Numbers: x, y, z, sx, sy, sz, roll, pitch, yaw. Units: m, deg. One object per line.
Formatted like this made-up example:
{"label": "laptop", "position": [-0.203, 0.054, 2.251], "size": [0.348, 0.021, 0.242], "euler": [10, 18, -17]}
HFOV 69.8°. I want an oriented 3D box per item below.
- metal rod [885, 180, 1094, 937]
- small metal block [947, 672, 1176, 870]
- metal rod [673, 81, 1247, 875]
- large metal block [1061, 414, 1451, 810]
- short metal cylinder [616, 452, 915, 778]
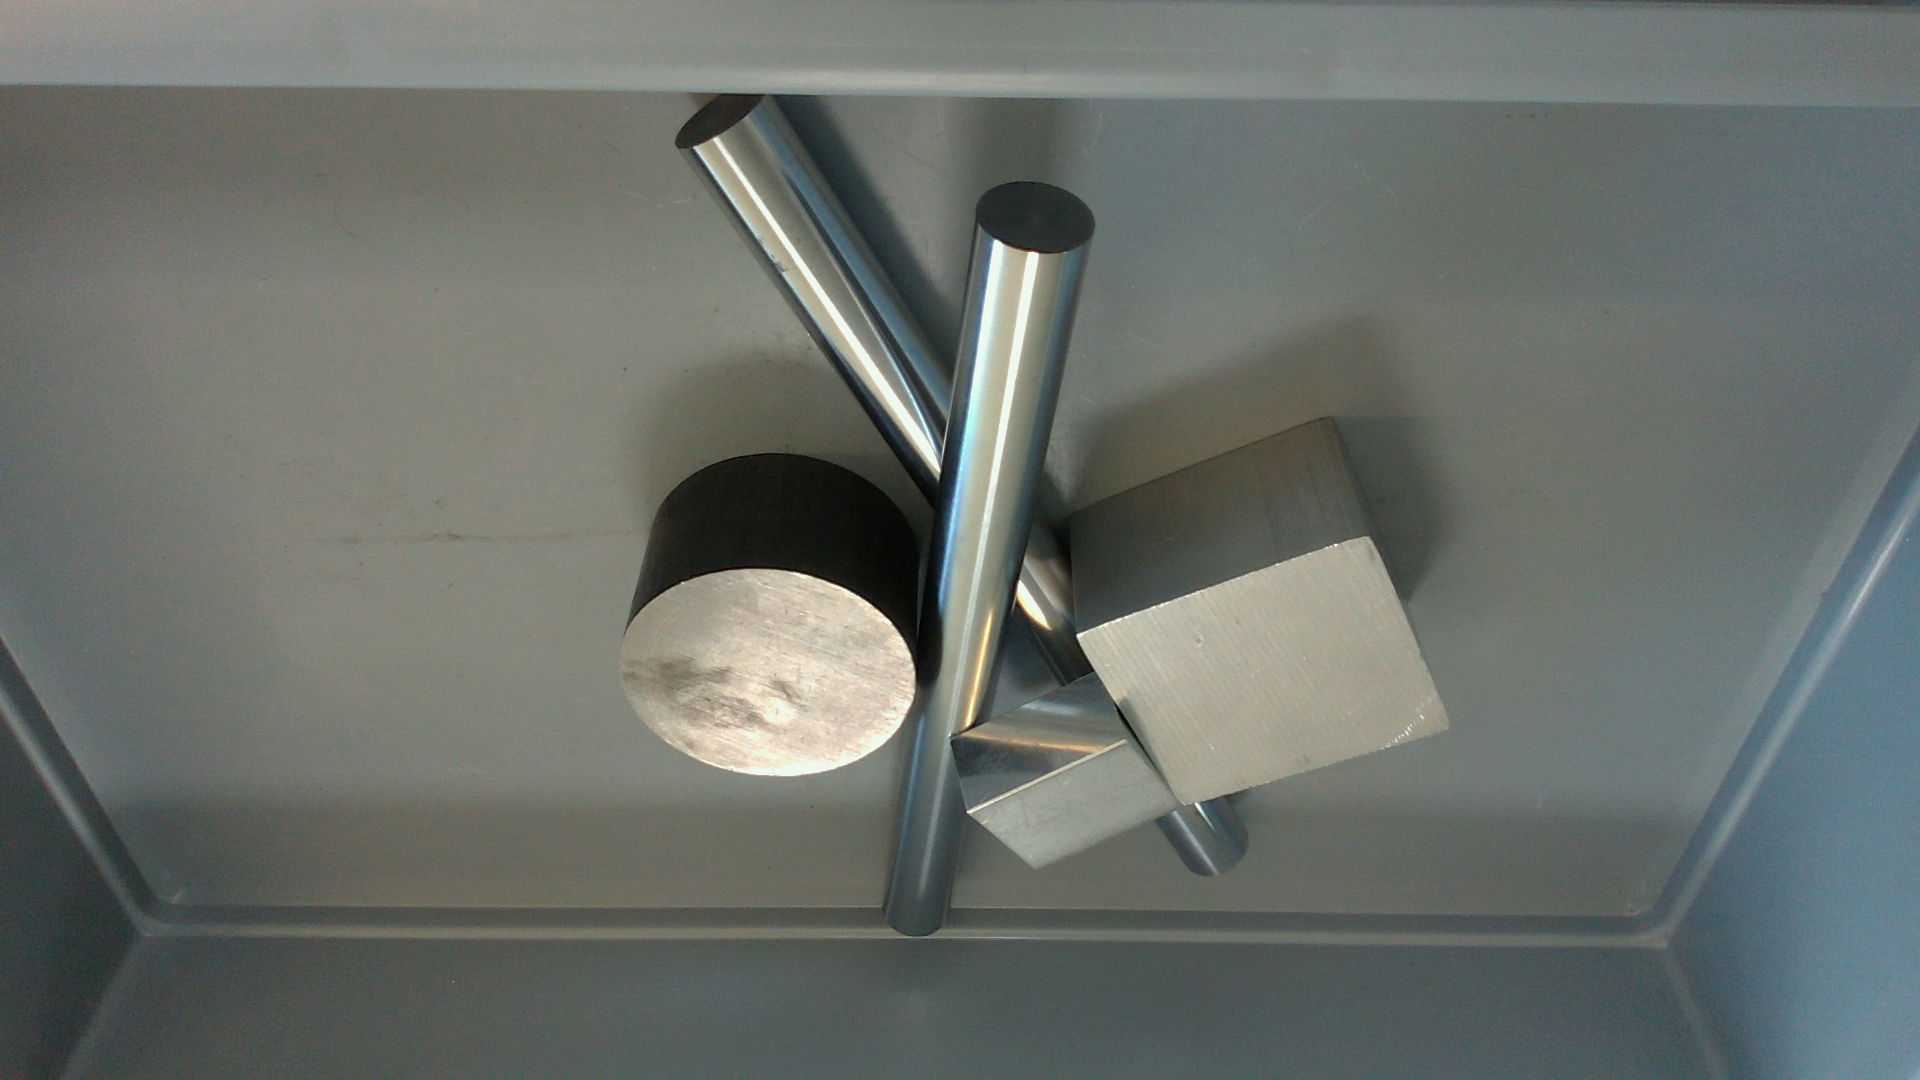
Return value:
{"label": "metal rod", "position": [0.000, 0.033, 0.391], "size": [0.025, 0.025, 0.300], "euler": [5, 138, -4]}
{"label": "small metal block", "position": [0.032, 0.069, 0.406], "size": [0.050, 0.025, 0.050], "euler": [-27, 140, 11]}
{"label": "metal rod", "position": [0.017, 0.005, 0.393], "size": [0.025, 0.025, 0.301], "euler": [-22, 127, 18]}
{"label": "large metal block", "position": [0.083, 0.023, 0.392], "size": [0.080, 0.050, 0.080], "euler": [-22, 127, 17]}
{"label": "short metal cylinder", "position": [-0.053, 0.022, 0.391], "size": [0.080, 0.050, 0.080], "euler": [-1, 130, 0]}
